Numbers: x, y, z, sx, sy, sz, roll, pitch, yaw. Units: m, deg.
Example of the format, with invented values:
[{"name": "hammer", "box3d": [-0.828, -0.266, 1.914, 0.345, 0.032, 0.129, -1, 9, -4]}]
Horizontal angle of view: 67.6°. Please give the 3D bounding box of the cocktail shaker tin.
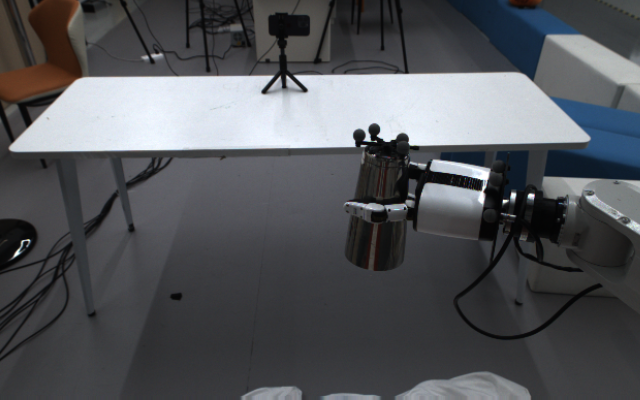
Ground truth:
[{"name": "cocktail shaker tin", "box3d": [0.089, 0.006, 0.712, 0.093, 0.170, 0.093, 3, 26, -1]}]
